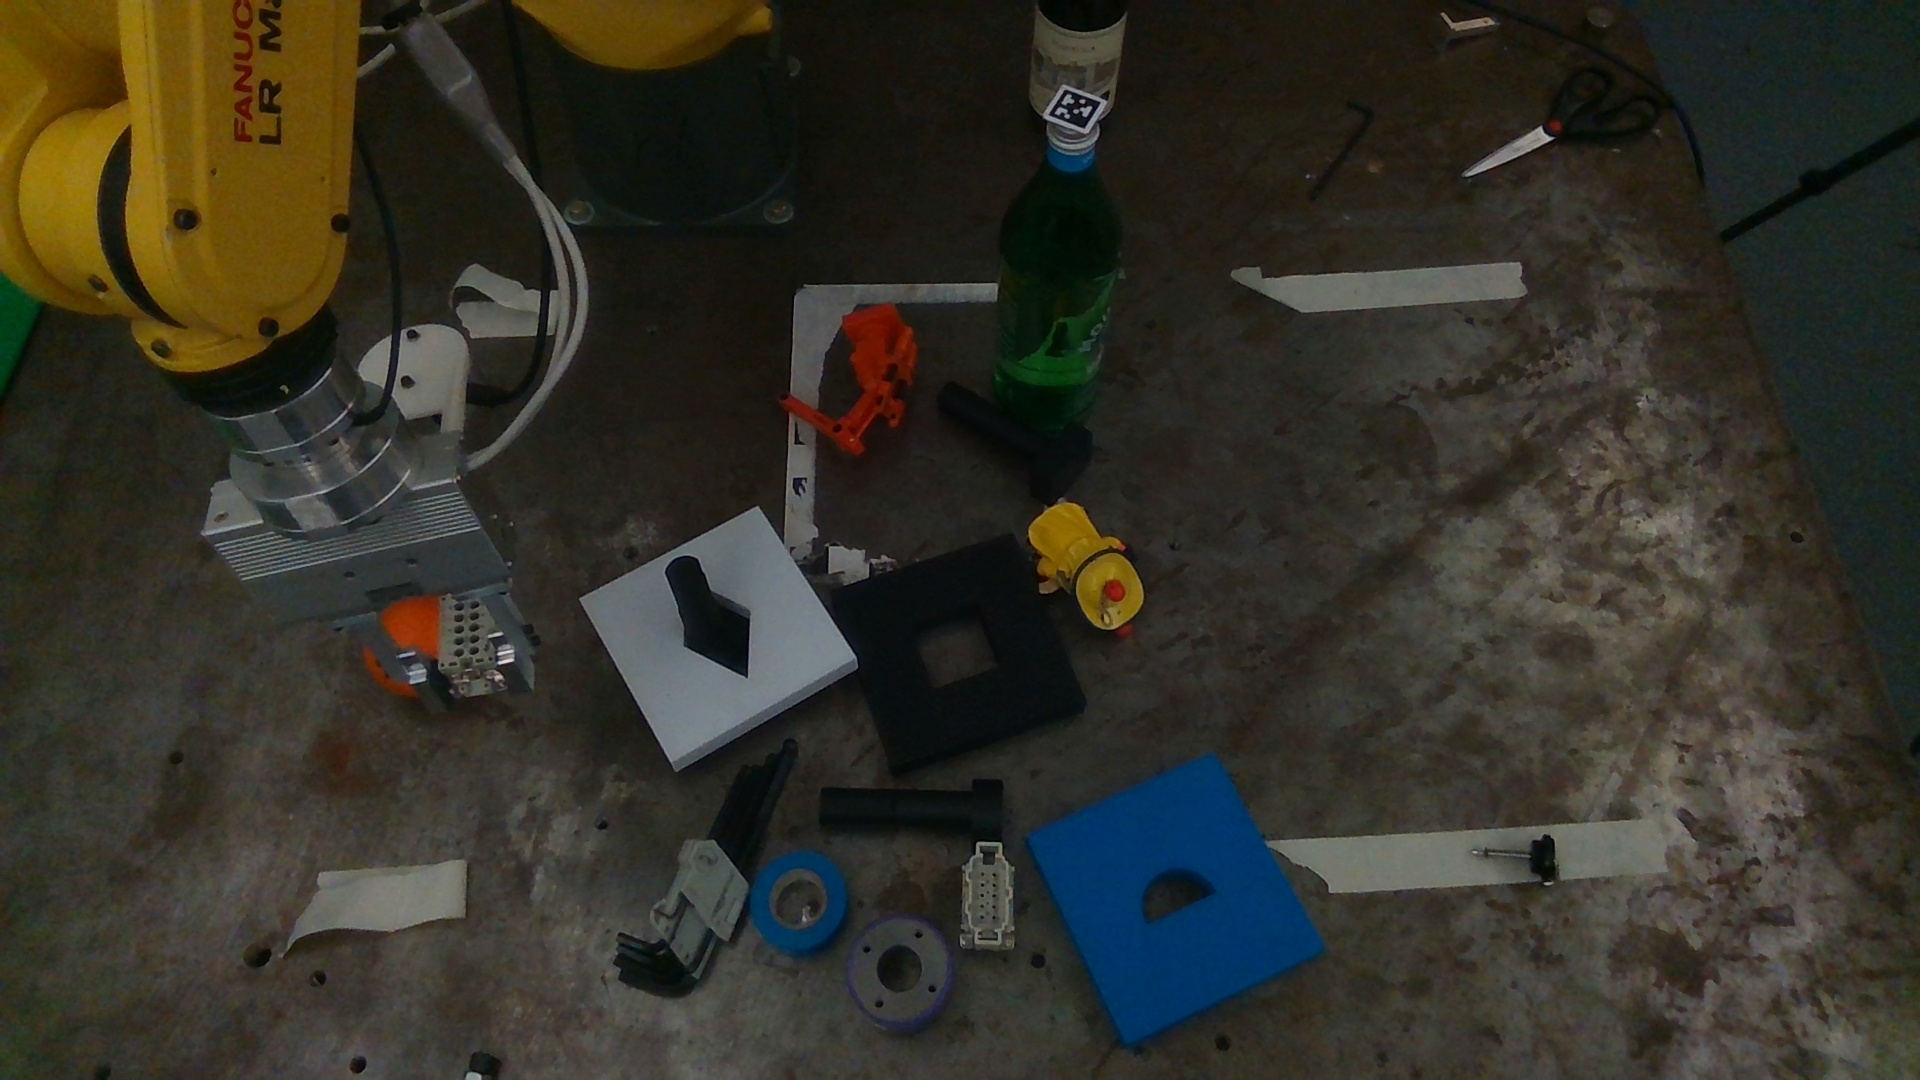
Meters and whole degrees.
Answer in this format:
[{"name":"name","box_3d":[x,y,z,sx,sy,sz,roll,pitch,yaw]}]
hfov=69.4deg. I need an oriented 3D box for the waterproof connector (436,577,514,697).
[{"name":"waterproof connector","box_3d":[-0.275,0.054,0.789,0.037,0.038,0.069,-10,66,-3]}]
